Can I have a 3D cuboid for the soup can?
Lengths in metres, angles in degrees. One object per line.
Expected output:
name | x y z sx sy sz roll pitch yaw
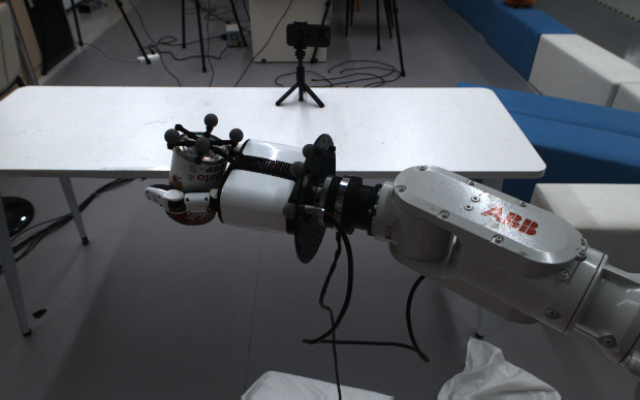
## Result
soup can | -0.157 -0.025 0.616 0.067 0.101 0.067 14 35 -10
